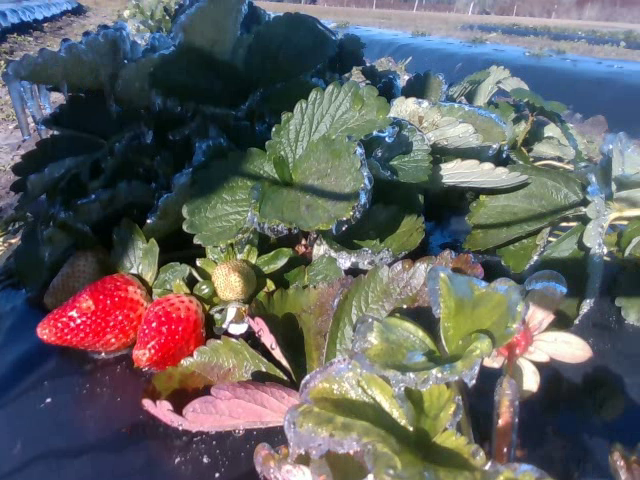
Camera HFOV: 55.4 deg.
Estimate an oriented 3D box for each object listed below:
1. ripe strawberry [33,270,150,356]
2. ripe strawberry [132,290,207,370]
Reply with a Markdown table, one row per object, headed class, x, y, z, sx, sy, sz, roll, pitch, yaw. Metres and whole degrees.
| class | x | y | z | sx | sy | sz | roll | pitch | yaw |
| --- | --- | --- | --- | --- | --- | --- | --- | --- | --- |
| ripe strawberry | -0.104 | 0.037 | 0.269 | 0.036 | 0.040 | 0.051 | -6 | 5 | 45 |
| ripe strawberry | -0.066 | 0.041 | 0.256 | 0.036 | 0.030 | 0.041 | -24 | 26 | 25 |
